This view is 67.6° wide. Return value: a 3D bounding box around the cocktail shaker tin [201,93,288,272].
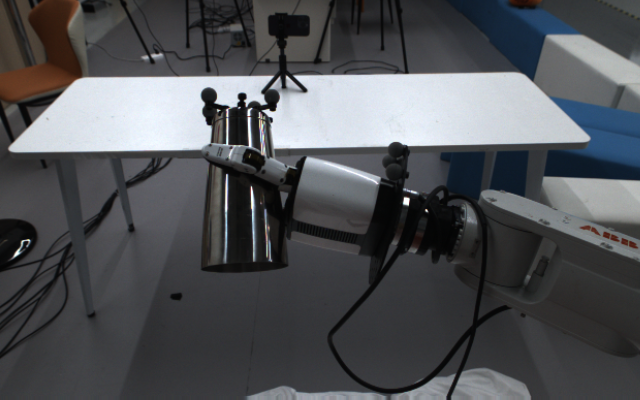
[{"bbox_3d":[-0.084,-0.009,0.532,0.093,0.093,0.170,-3,76,-7],"label":"cocktail shaker tin"}]
